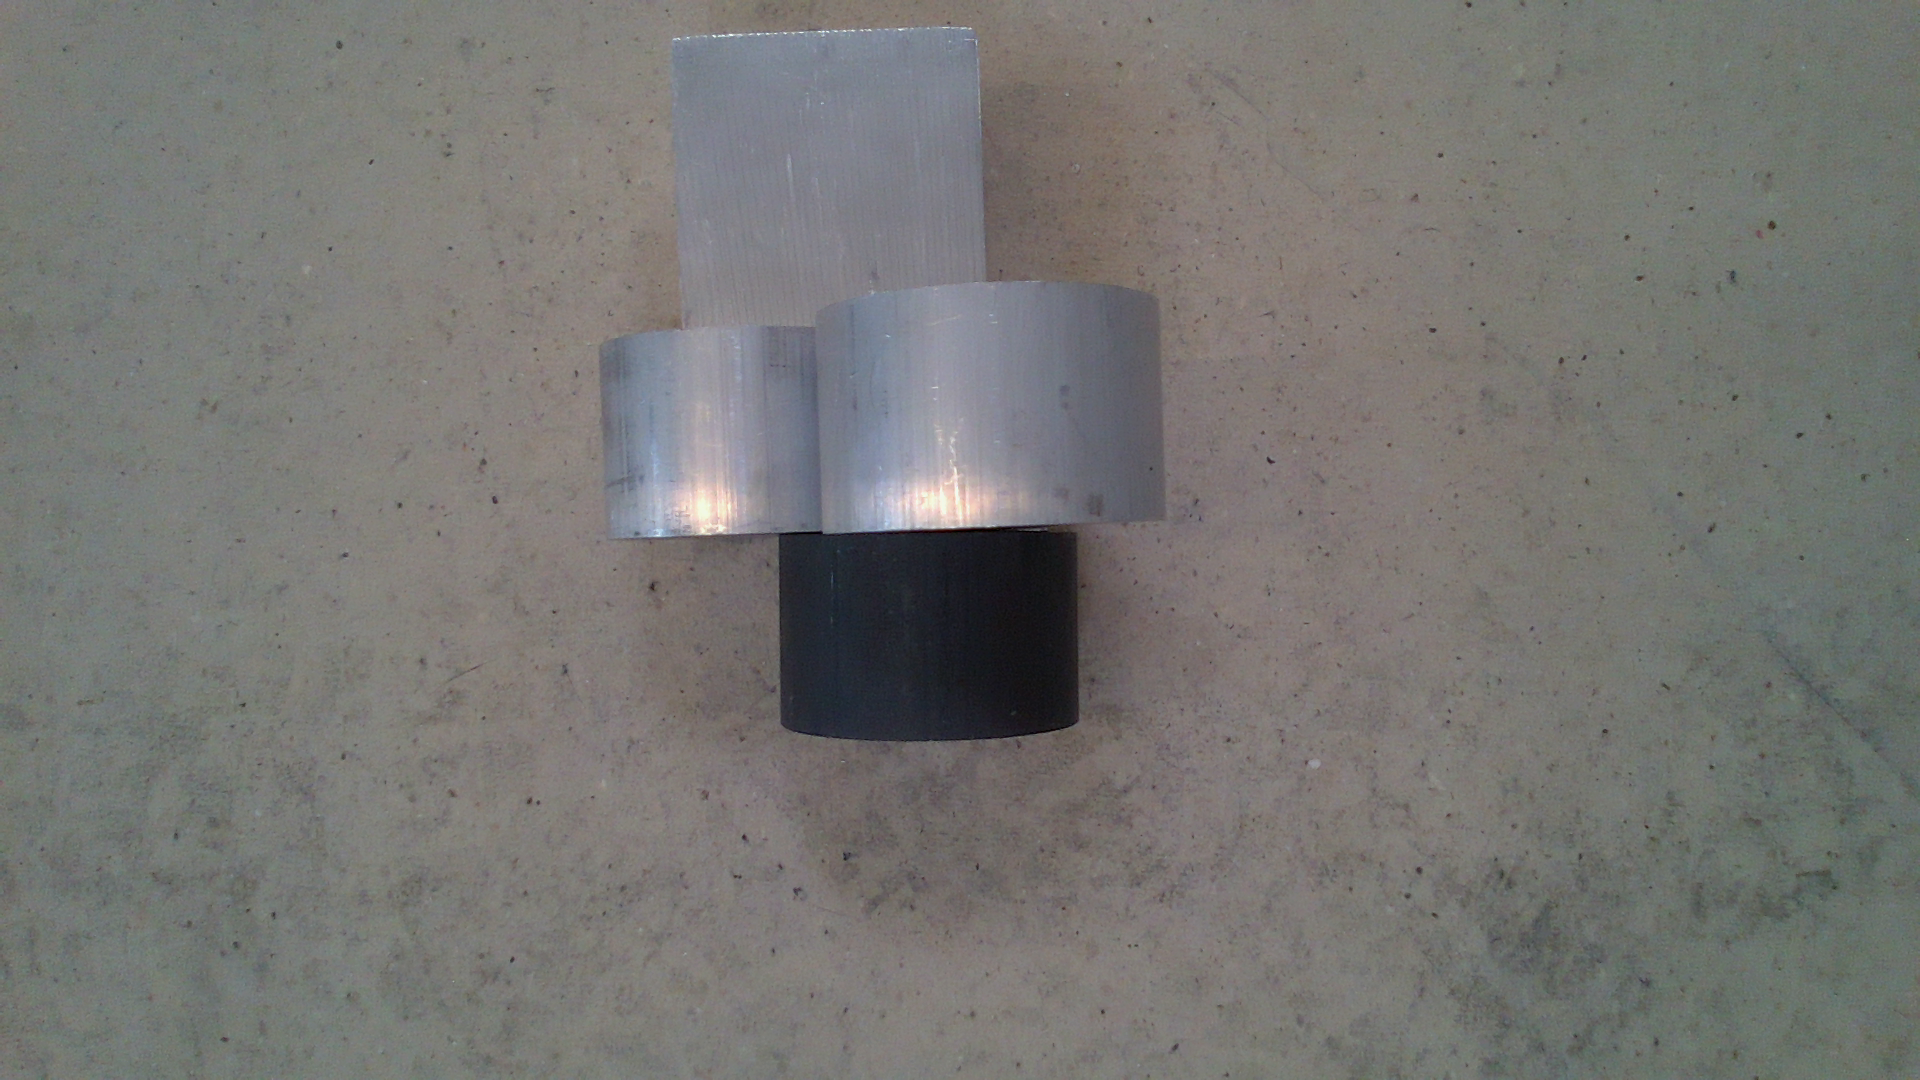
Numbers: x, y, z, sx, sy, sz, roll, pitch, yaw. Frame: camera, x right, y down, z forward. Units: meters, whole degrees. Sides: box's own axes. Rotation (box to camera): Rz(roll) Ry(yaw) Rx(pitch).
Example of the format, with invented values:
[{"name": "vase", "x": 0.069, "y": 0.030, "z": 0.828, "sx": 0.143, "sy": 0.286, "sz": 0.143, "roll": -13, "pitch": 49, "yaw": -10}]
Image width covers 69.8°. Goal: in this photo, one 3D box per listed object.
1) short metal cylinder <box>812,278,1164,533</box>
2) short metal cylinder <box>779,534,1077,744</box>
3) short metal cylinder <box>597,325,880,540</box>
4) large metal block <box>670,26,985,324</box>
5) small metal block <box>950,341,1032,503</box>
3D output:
[{"name": "short metal cylinder", "x": 0.006, "y": -0.028, "z": 0.318, "sx": 0.080, "sy": 0.080, "sz": 0.050, "roll": -2, "pitch": 90, "yaw": 0}, {"name": "short metal cylinder", "x": -0.008, "y": 0.024, "z": 0.369, "sx": 0.080, "sy": 0.080, "sz": 0.050, "roll": 0, "pitch": 90, "yaw": 0}, {"name": "short metal cylinder", "x": -0.055, "y": -0.026, "z": 0.368, "sx": 0.080, "sy": 0.080, "sz": 0.050, "roll": -2, "pitch": 90, "yaw": 0}, {"name": "large metal block", "x": -0.034, "y": -0.093, "z": 0.383, "sx": 0.080, "sy": 0.050, "sz": 0.080, "roll": -2, "pitch": 90, "yaw": 0}, {"name": "small metal block", "x": 0.010, "y": -0.027, "z": 0.385, "sx": 0.025, "sy": 0.050, "sz": 0.050, "roll": 1, "pitch": 90, "yaw": 0}]
